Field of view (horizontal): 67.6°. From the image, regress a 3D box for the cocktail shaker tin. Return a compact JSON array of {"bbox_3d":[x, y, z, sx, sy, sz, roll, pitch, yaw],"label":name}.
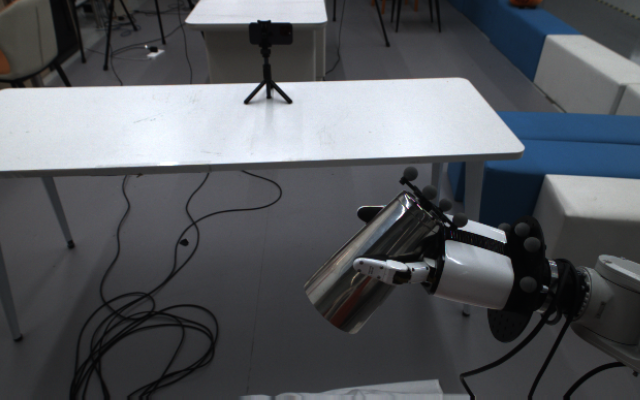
[{"bbox_3d":[0.071,0.067,0.599,0.093,0.170,0.093,41,12,-11],"label":"cocktail shaker tin"}]
